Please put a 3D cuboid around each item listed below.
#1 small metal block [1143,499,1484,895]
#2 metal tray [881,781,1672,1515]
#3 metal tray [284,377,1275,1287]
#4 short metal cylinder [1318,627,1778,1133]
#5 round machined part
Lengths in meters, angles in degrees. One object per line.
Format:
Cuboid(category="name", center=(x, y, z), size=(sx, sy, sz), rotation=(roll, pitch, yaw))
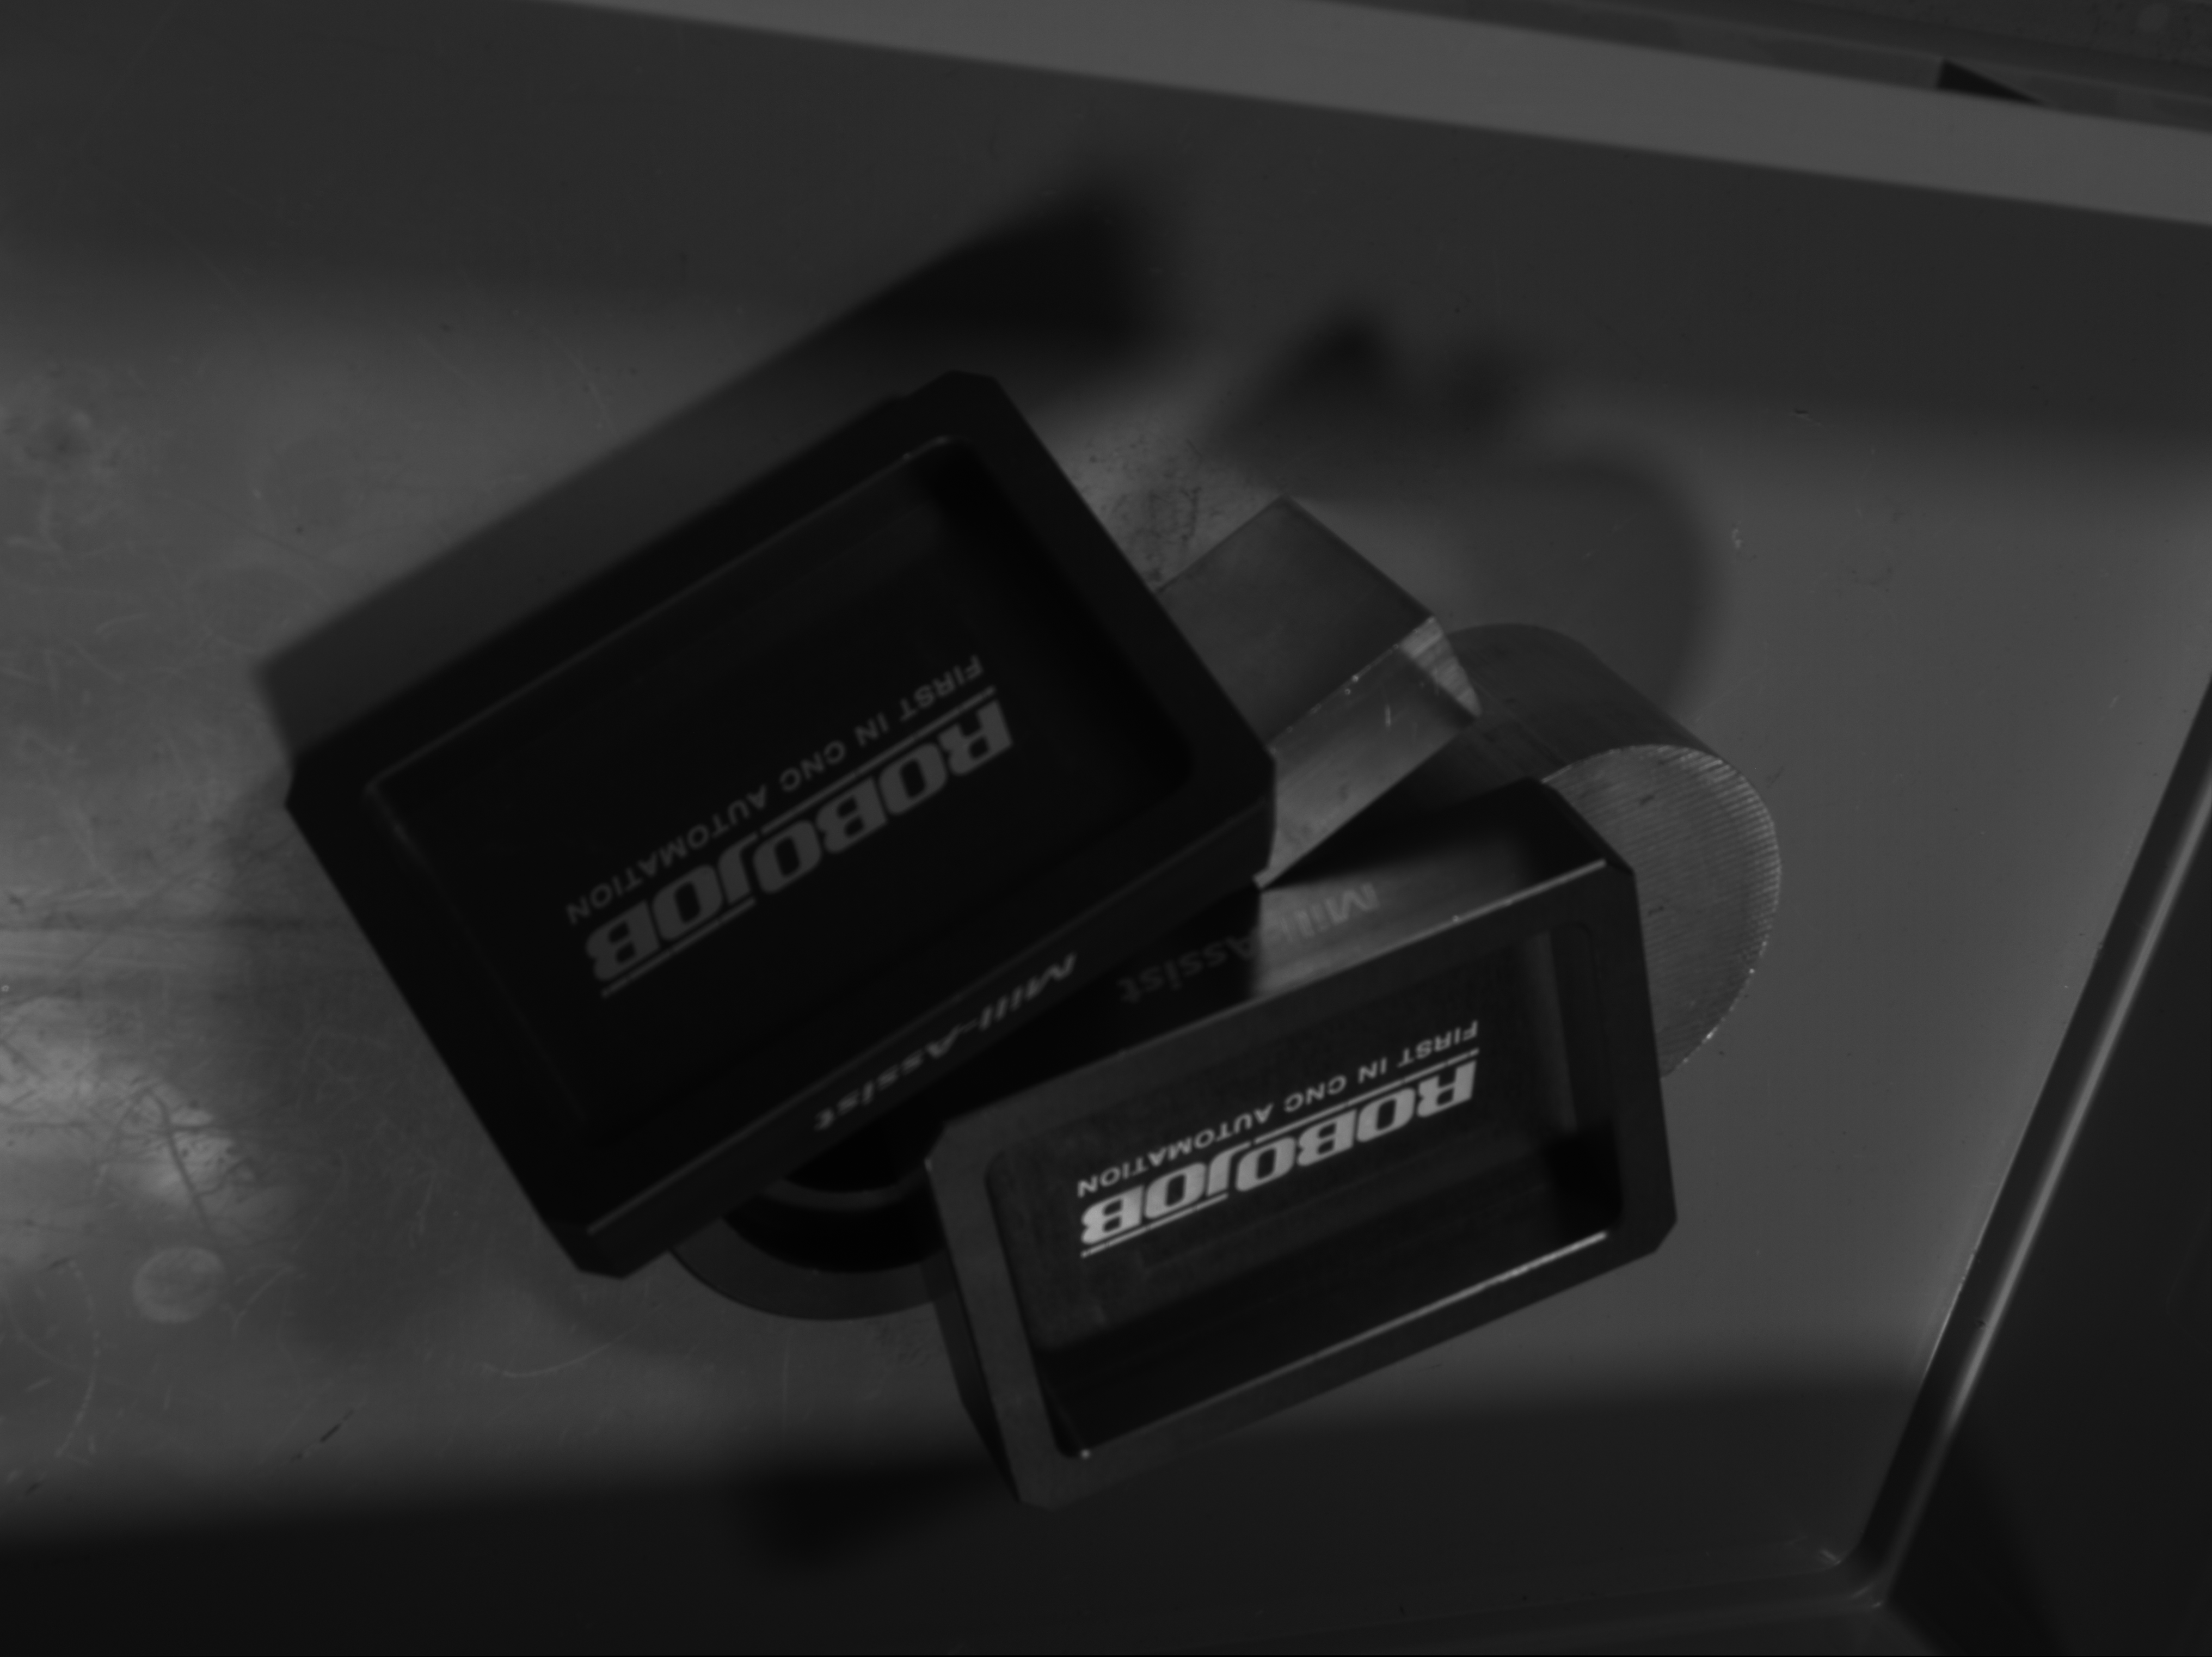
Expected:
Cuboid(category="small metal block", center=(0.028, -0.024, 0.634), size=(0.050, 0.050, 0.025), rotation=(-38, 130, -6))
Cuboid(category="metal tray", center=(0.031, 0.056, 0.636), size=(0.130, 0.030, 0.090), rotation=(-21, 126, -12))
Cuboid(category="metal tray", center=(-0.050, -0.001, 0.575), size=(0.130, 0.090, 0.030), rotation=(-33, 161, -10))
Cuboid(category="short metal cylinder", center=(0.077, 0.009, 0.683), size=(0.080, 0.050, 0.080), rotation=(-15, 125, -22))
Cuboid(category="round machined part", center=(-0.044, 0.033, 0.635), size=(0.098, 0.042, 0.098), rotation=(-15, 125, -22))
